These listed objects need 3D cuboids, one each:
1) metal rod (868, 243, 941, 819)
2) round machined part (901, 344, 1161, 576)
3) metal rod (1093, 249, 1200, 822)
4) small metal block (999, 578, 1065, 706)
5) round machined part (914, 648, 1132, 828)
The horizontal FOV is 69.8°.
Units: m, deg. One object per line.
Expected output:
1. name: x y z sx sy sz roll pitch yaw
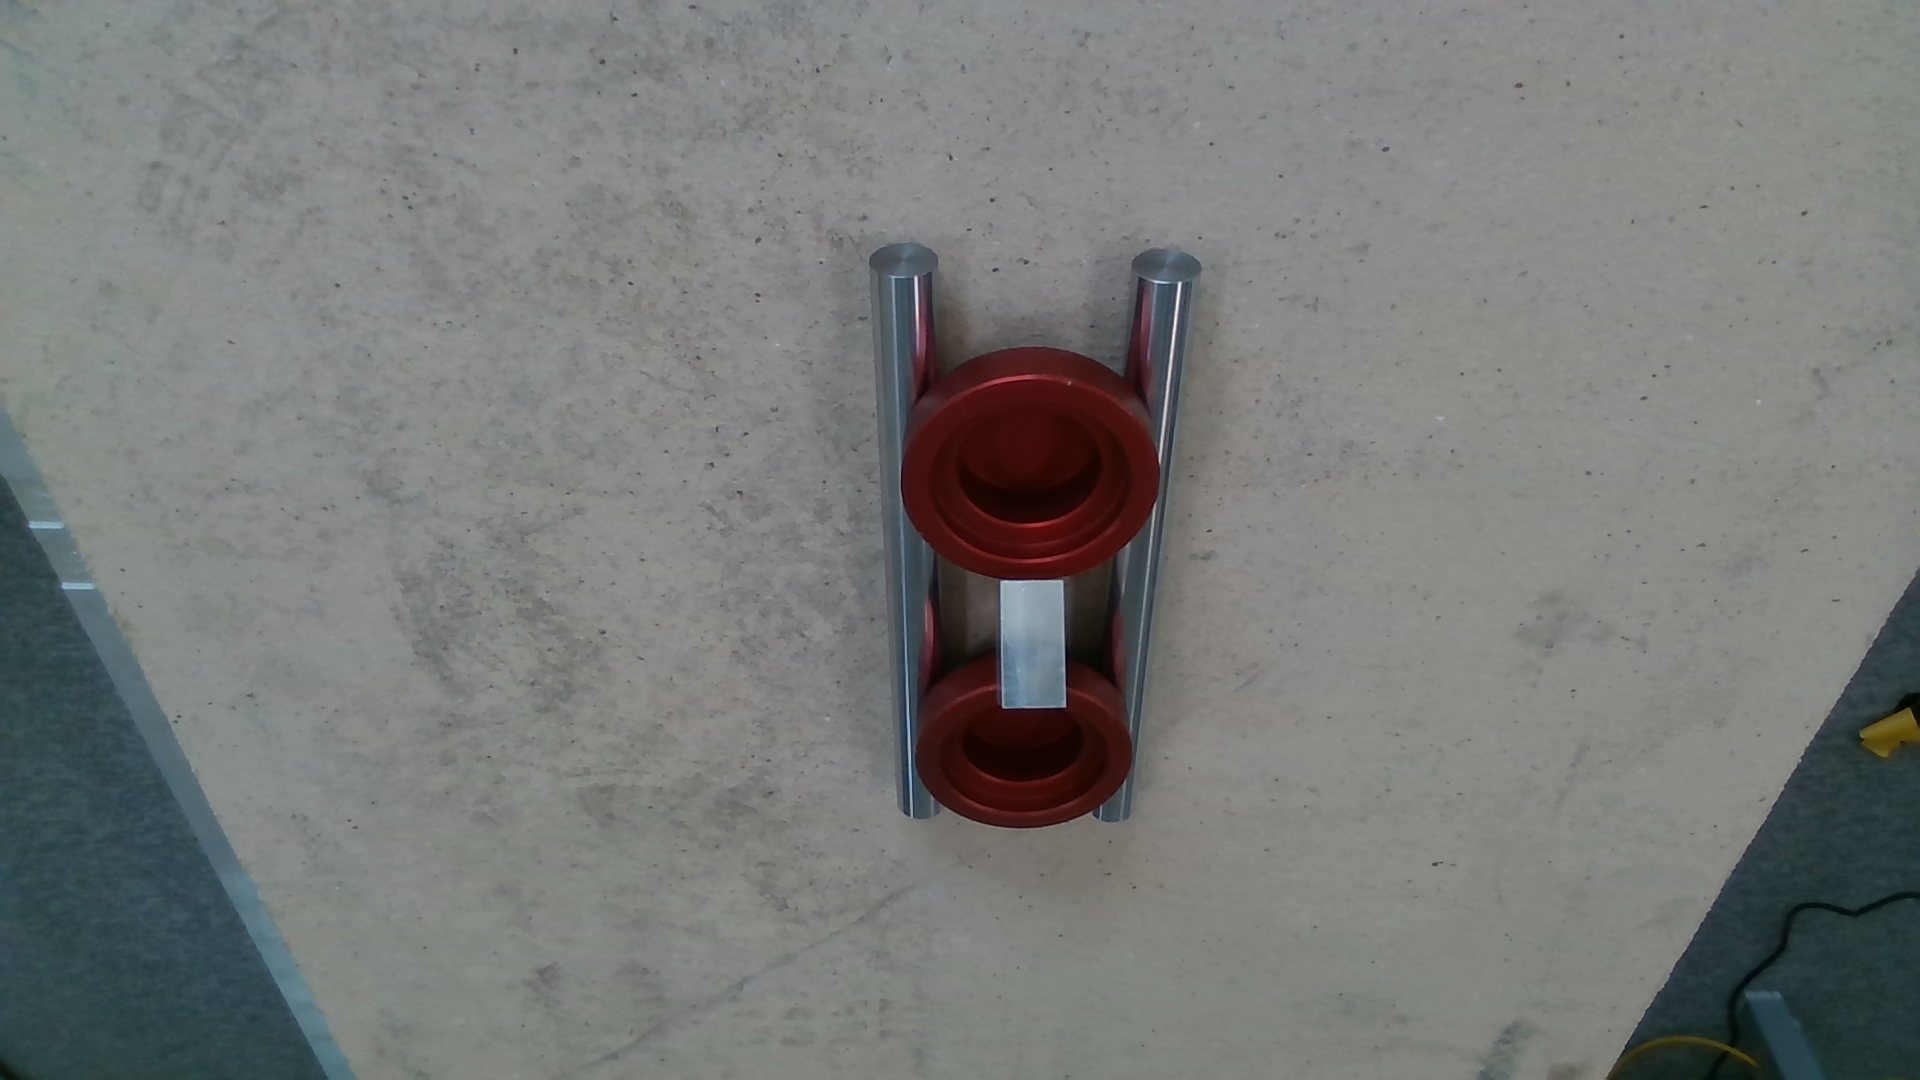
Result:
1. metal rod: -0.020 0.015 0.591 0.025 0.025 0.301 0 130 0
2. round machined part: 0.027 -0.034 0.534 0.098 0.042 0.098 0 130 0
3. metal rod: 0.074 0.016 0.593 0.025 0.025 0.301 0 130 0
4. small metal block: 0.028 0.041 0.564 0.025 0.050 0.050 -1 87 -1
5. round machined part: 0.028 0.086 0.634 0.098 0.042 0.098 0 130 0
